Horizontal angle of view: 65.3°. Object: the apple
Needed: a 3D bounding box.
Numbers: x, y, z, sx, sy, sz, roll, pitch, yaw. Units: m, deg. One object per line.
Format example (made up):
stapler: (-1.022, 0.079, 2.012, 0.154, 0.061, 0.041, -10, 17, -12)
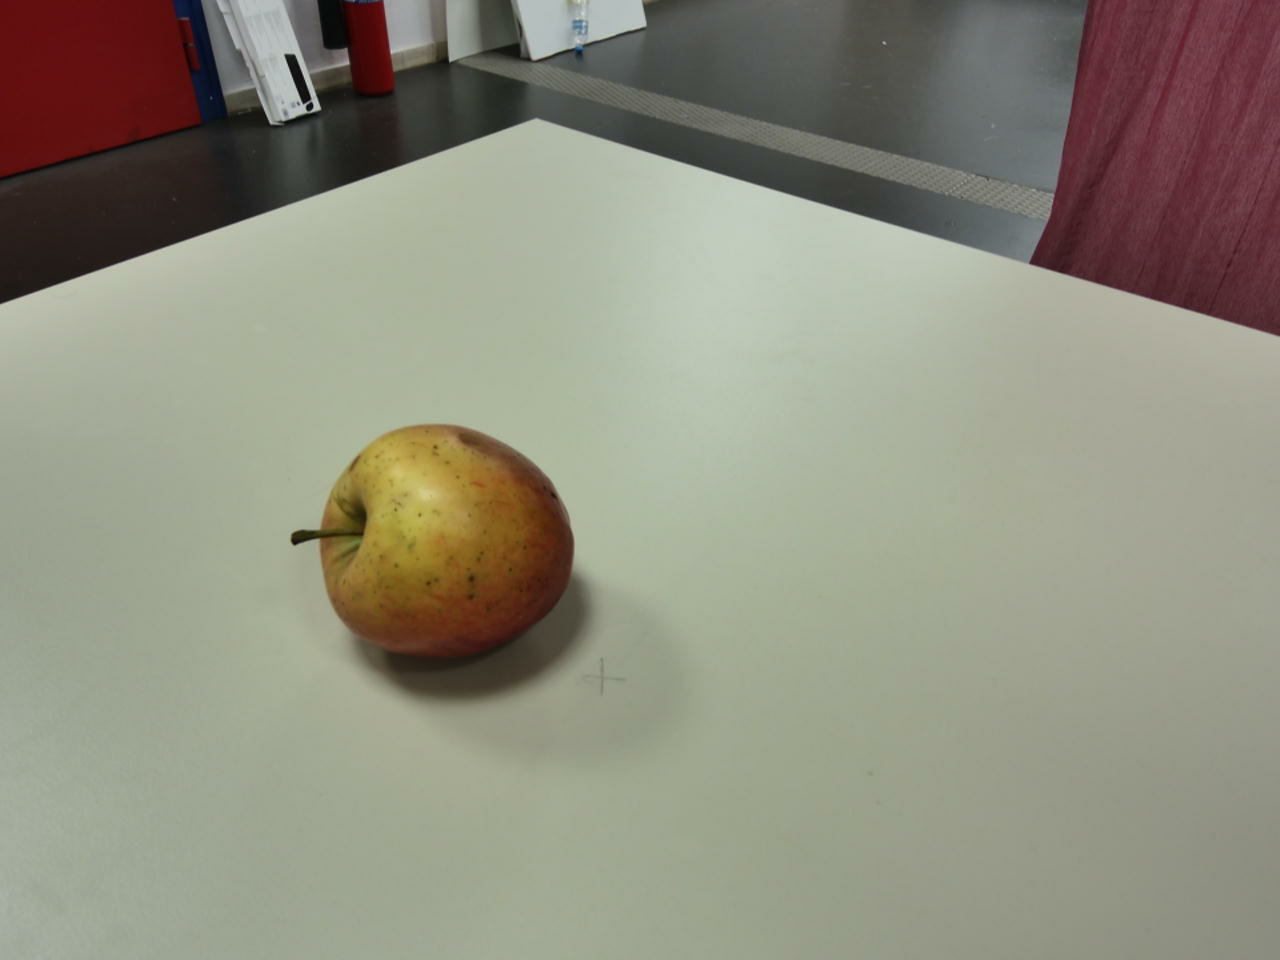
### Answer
apple: (-0.072, 0.022, 0.365, 0.093, 0.084, 0.086, 3, 35, 1)
